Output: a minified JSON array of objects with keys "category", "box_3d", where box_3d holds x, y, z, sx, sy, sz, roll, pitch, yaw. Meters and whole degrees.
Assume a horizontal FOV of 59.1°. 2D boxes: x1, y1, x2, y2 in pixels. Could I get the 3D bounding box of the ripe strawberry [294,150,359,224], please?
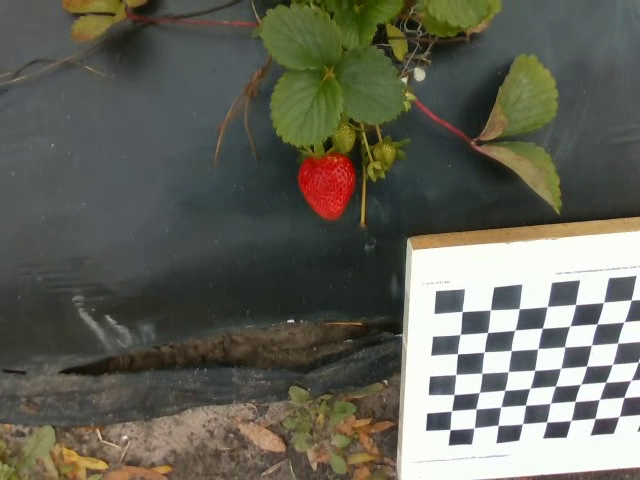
[{"category":"ripe strawberry","box_3d":[0.002,-0.011,0.122,0.018,0.017,0.014,-4,-13,-13]}]
